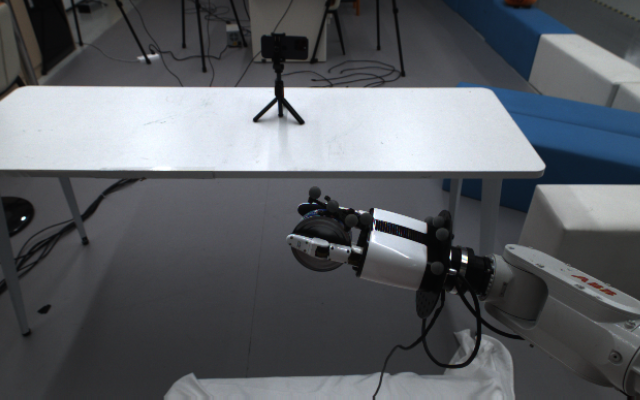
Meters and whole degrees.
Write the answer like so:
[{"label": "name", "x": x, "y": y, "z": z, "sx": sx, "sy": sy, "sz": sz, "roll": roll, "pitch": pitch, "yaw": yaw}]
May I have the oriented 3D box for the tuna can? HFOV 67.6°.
[{"label": "tuna can", "x": 0.005, "y": 0.056, "z": 0.691, "sx": 0.085, "sy": 0.085, "sz": 0.034, "roll": 7, "pitch": 16, "yaw": 7}]
